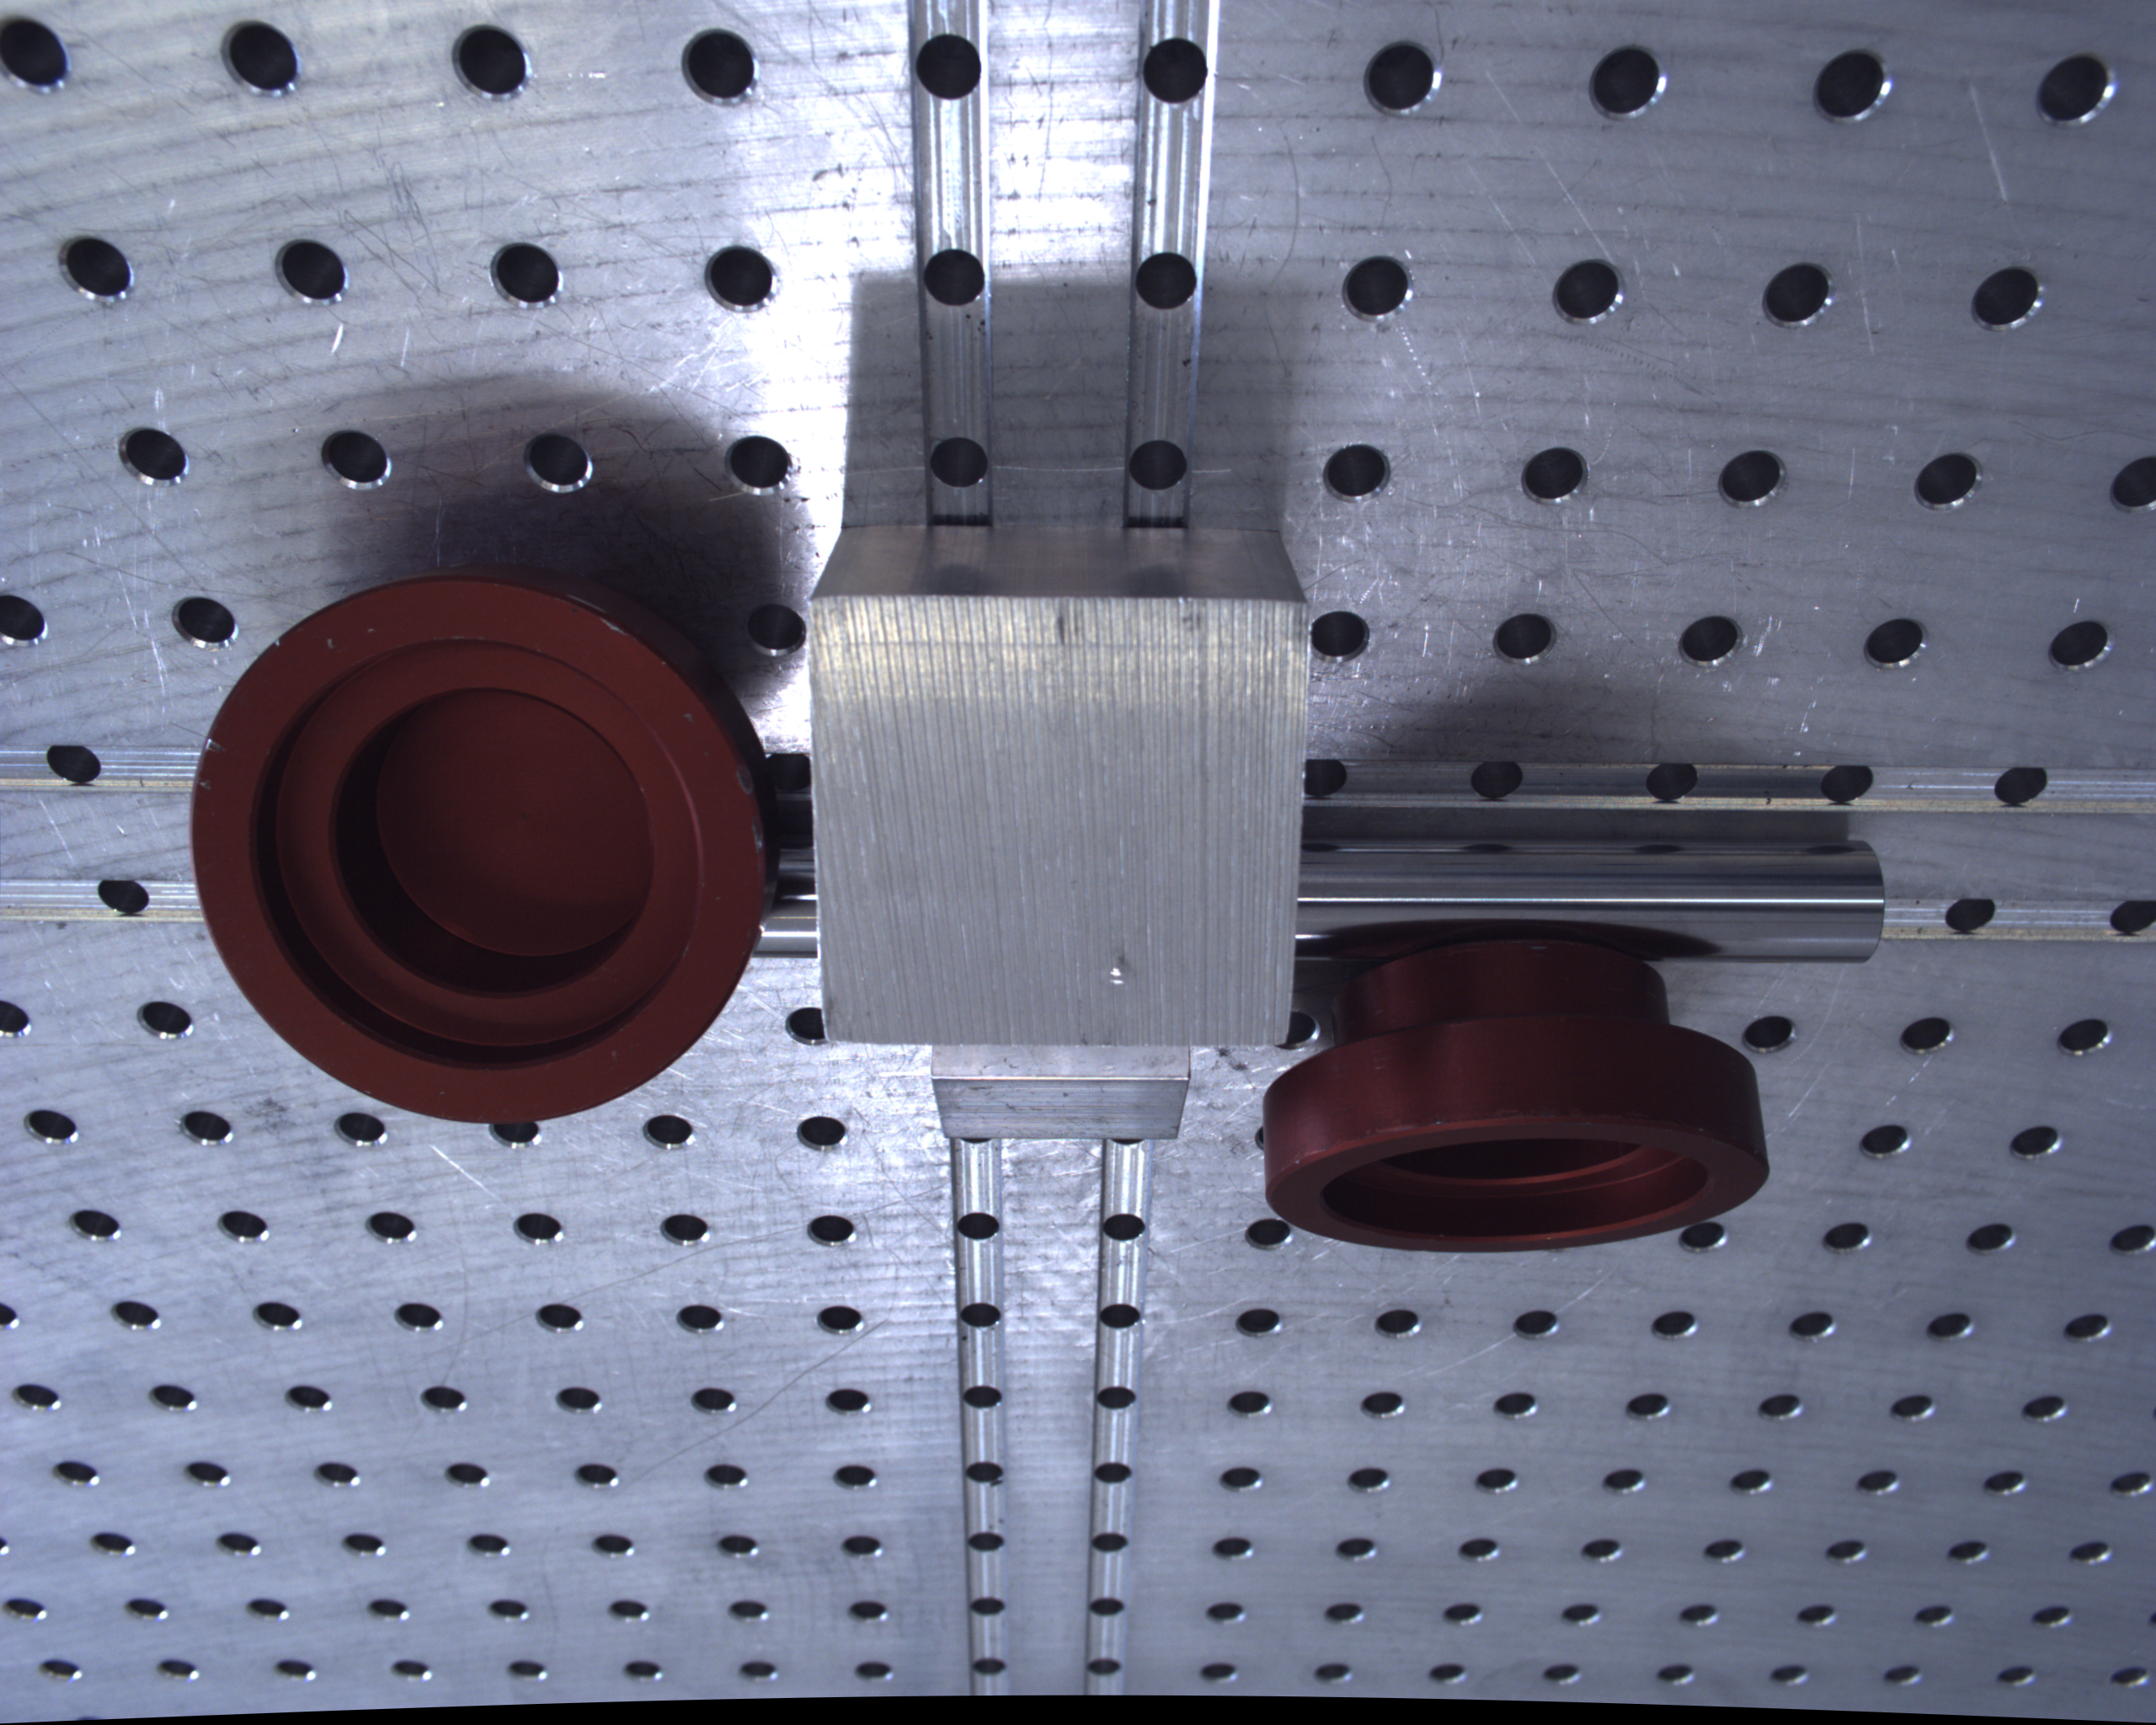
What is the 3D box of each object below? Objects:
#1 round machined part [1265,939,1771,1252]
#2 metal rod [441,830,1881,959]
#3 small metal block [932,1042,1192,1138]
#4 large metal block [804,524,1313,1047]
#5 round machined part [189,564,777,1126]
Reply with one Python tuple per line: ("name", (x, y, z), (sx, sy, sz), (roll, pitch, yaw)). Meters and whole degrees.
("round machined part", (0.087, 0.047, 0.425), (0.099, 0.042, 0.098), (0, 156, 0))
("metal rod", (0.006, 0.006, 0.418), (0.302, 0.025, 0.025), (0, 130, -1))
("small metal block", (-0.003, 0.039, 0.432), (0.050, 0.025, 0.050), (0, 159, -1))
("large metal block", (-0.004, -0.015, 0.368), (0.081, 0.050, 0.079), (0, 112, -1))
("round machined part", (-0.103, -0.005, 0.378), (0.099, 0.042, 0.097), (0, 104, -1))
